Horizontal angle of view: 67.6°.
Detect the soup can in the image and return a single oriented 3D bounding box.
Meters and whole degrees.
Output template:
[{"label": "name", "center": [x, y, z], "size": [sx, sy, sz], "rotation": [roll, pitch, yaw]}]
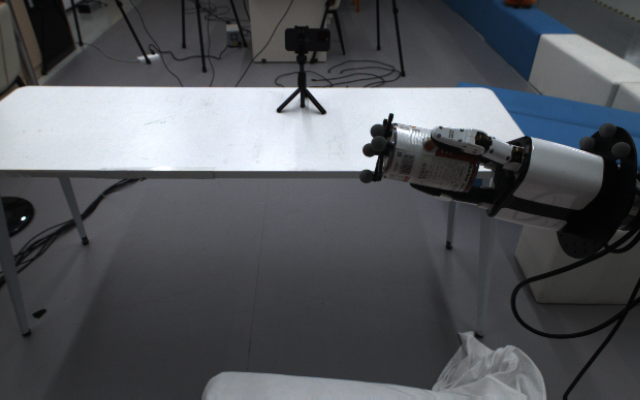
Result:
[{"label": "soup can", "center": [0.131, -0.051, 0.576], "size": [0.101, 0.067, 0.067], "rotation": [10, 35, -2]}]
